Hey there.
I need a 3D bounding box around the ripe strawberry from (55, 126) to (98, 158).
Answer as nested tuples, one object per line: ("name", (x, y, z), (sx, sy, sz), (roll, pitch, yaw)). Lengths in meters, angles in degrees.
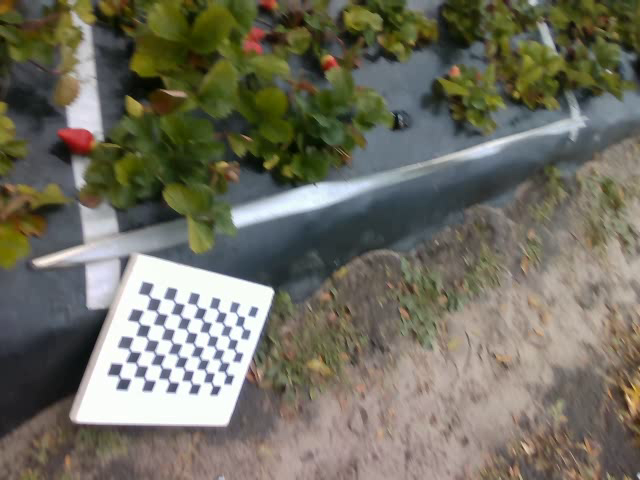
("ripe strawberry", (-0.352, -0.147, 0.713), (0.051, 0.042, 0.037), (15, 5, -43))
